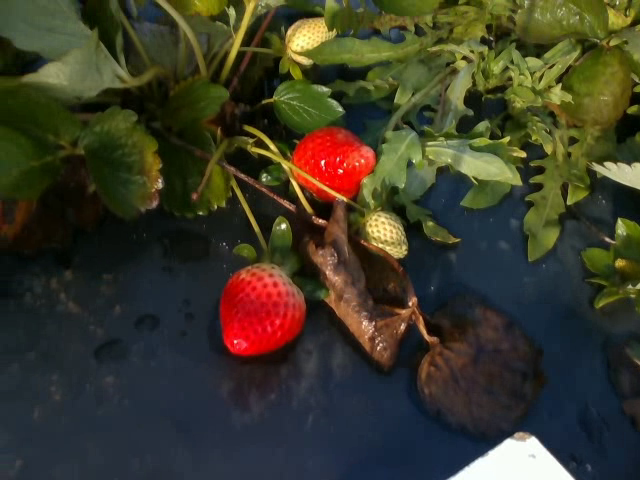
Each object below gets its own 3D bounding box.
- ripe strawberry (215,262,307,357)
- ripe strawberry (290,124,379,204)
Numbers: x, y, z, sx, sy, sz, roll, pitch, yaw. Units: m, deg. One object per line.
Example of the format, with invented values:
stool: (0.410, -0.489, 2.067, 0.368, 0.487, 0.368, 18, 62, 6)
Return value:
ripe strawberry: (-0.023, 0.026, 0.226, 0.035, 0.030, 0.043, 17, 45, 11)
ripe strawberry: (0.009, -0.038, 0.281, 0.039, 0.032, 0.048, -38, 18, -31)
